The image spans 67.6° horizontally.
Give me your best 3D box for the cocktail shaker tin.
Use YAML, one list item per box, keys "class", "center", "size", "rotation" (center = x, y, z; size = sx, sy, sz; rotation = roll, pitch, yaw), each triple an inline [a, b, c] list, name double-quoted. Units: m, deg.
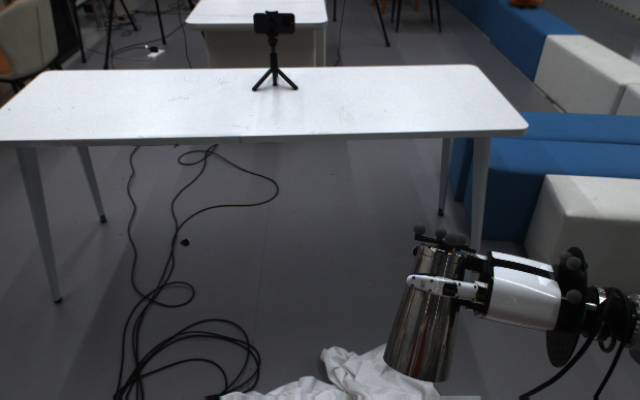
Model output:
- class: "cocktail shaker tin"
  center: [0.154, 0.148, 0.676]
  size: [0.093, 0.170, 0.093]
  rotation: [12, 3, -1]
